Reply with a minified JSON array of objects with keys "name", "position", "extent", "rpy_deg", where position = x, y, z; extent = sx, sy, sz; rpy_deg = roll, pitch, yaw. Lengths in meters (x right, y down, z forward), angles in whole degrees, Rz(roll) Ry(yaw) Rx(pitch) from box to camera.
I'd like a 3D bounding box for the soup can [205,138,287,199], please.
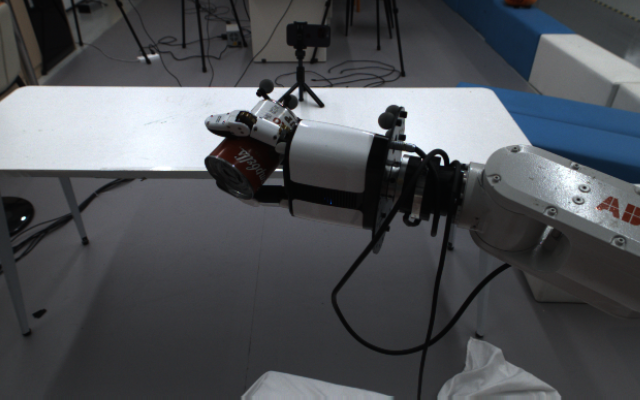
[{"name":"soup can","position":[-0.073,-0.059,0.556],"extent":[0.067,0.067,0.101],"rpy_deg":[22,61,26]}]
